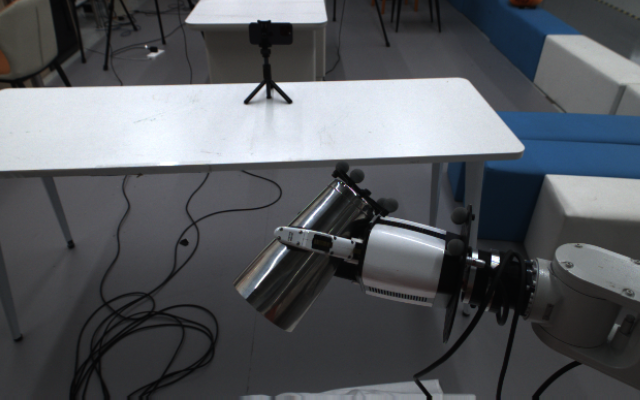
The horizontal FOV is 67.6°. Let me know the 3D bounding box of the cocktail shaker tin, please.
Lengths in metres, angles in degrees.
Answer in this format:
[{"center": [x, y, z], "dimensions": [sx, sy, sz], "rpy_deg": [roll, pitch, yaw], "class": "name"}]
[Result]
[{"center": [-0.011, 0.058, 0.577], "dimensions": [0.170, 0.093, 0.093], "rpy_deg": [-48, 49, -4], "class": "cocktail shaker tin"}]
